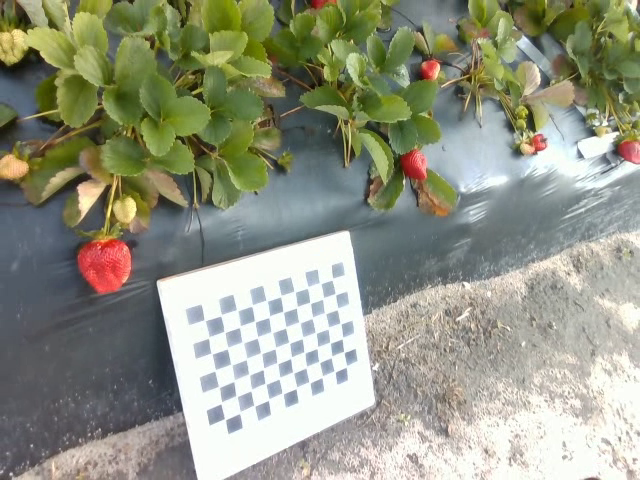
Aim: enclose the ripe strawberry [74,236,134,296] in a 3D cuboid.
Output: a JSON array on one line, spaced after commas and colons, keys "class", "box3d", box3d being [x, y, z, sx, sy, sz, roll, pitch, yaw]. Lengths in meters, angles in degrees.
[{"class": "ripe strawberry", "box3d": [-0.270, 0.032, 0.706, 0.067, 0.075, 0.039, -10, 6, -30]}]
